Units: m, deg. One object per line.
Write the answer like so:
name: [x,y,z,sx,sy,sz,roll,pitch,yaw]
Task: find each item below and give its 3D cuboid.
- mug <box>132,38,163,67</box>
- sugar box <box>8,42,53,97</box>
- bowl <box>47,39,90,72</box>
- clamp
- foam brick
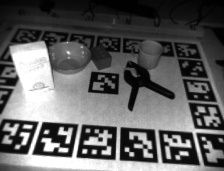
mug: [0.127,-0.129,0.817,0.116,0.081,0.093,26,52,11]
sugar box: [-0.236,-0.042,0.643,0.093,0.177,0.045,-16,55,-19]
bowl: [-0.161,-0.099,0.779,0.162,0.055,0.161,4,50,-4]
clamp: [0.089,-0.022,0.747,0.166,0.037,0.200,-15,54,-16]
foam brick: [-0.044,-0.106,0.809,0.053,0.051,0.077,-18,55,-19]
